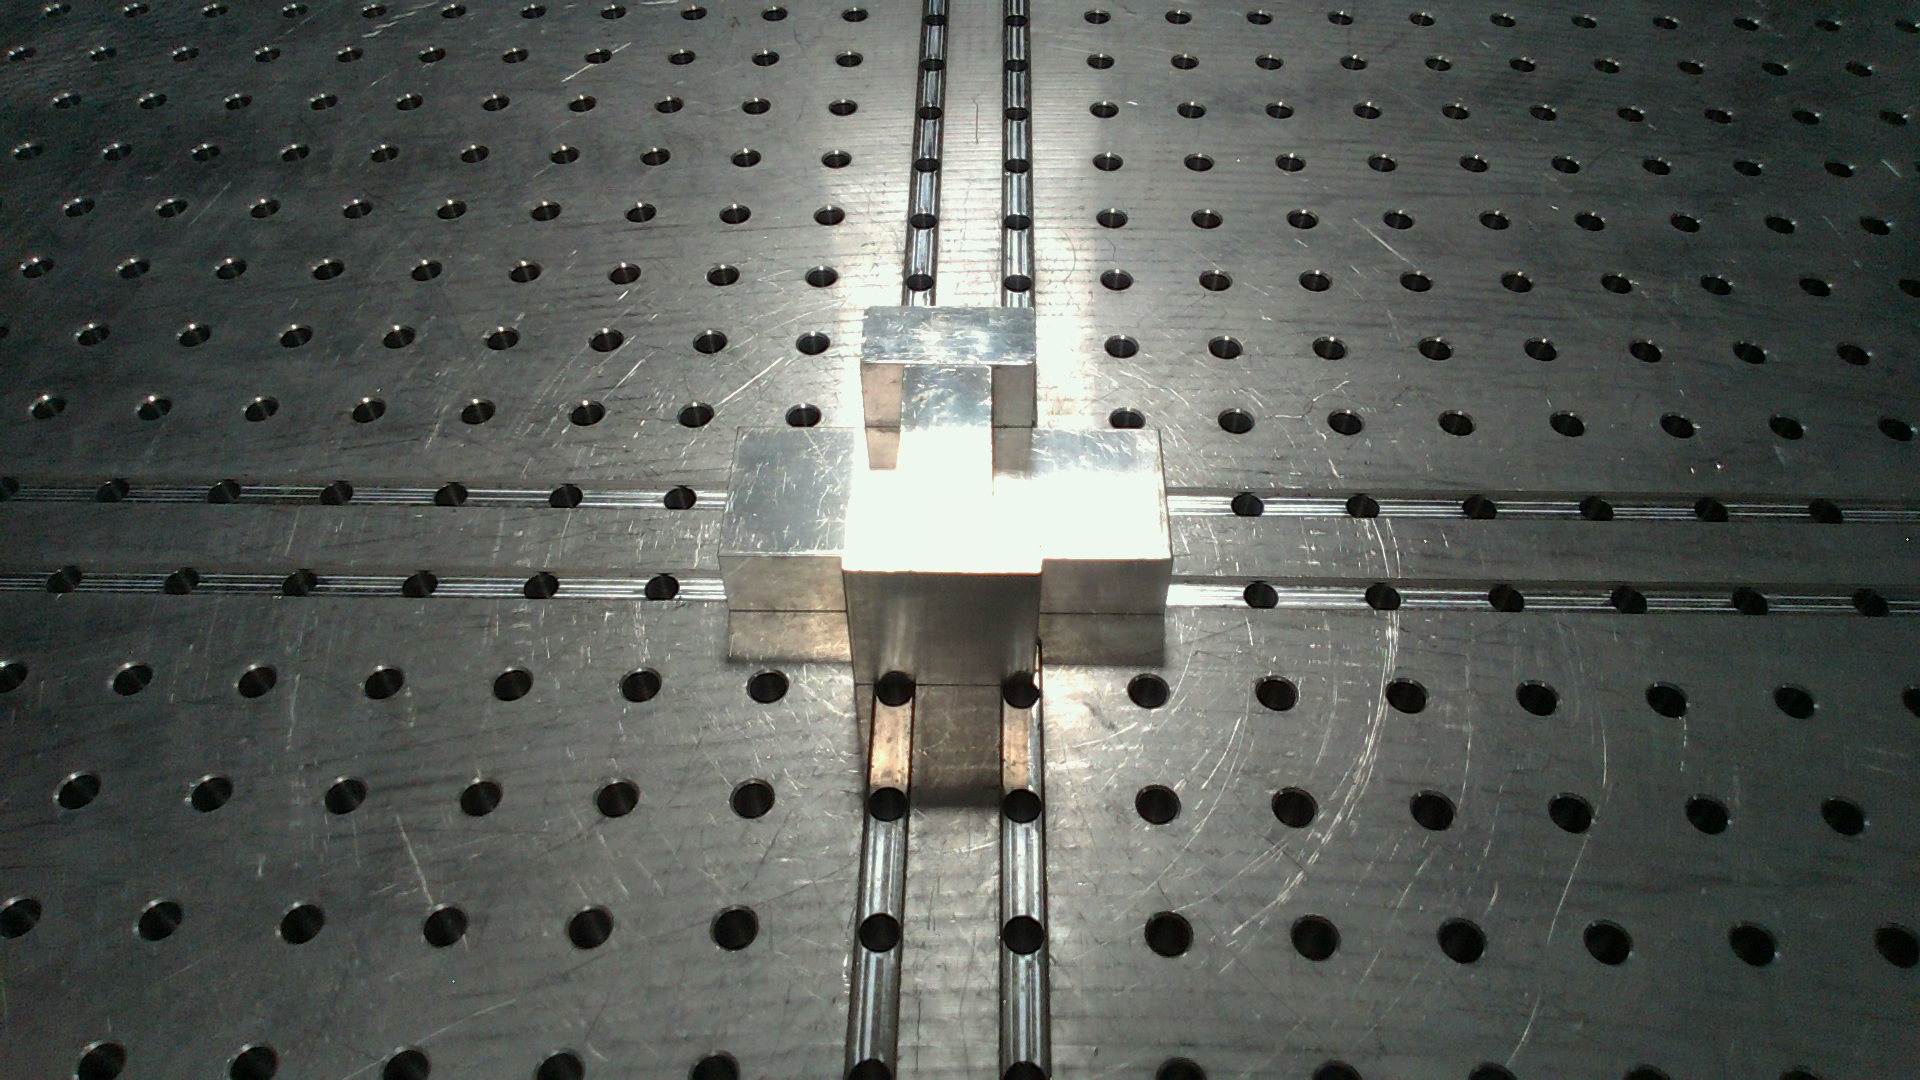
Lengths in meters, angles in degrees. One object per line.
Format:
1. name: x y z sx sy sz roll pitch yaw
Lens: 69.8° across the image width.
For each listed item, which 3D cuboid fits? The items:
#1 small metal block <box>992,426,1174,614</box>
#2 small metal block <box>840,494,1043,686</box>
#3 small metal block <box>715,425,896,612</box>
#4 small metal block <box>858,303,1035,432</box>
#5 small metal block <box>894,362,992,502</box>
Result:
1. small metal block: 0.034 -0.006 0.400 0.050 0.025 0.050 1 50 1
2. small metal block: -0.004 0.014 0.366 0.050 0.050 0.025 0 50 1
3. small metal block: -0.041 -0.007 0.400 0.050 0.025 0.050 0 50 0
4. small metal block: -0.003 -0.044 0.415 0.050 0.050 0.025 0 50 1
5. small metal block: -0.004 -0.015 0.390 0.025 0.050 0.050 1 50 1
